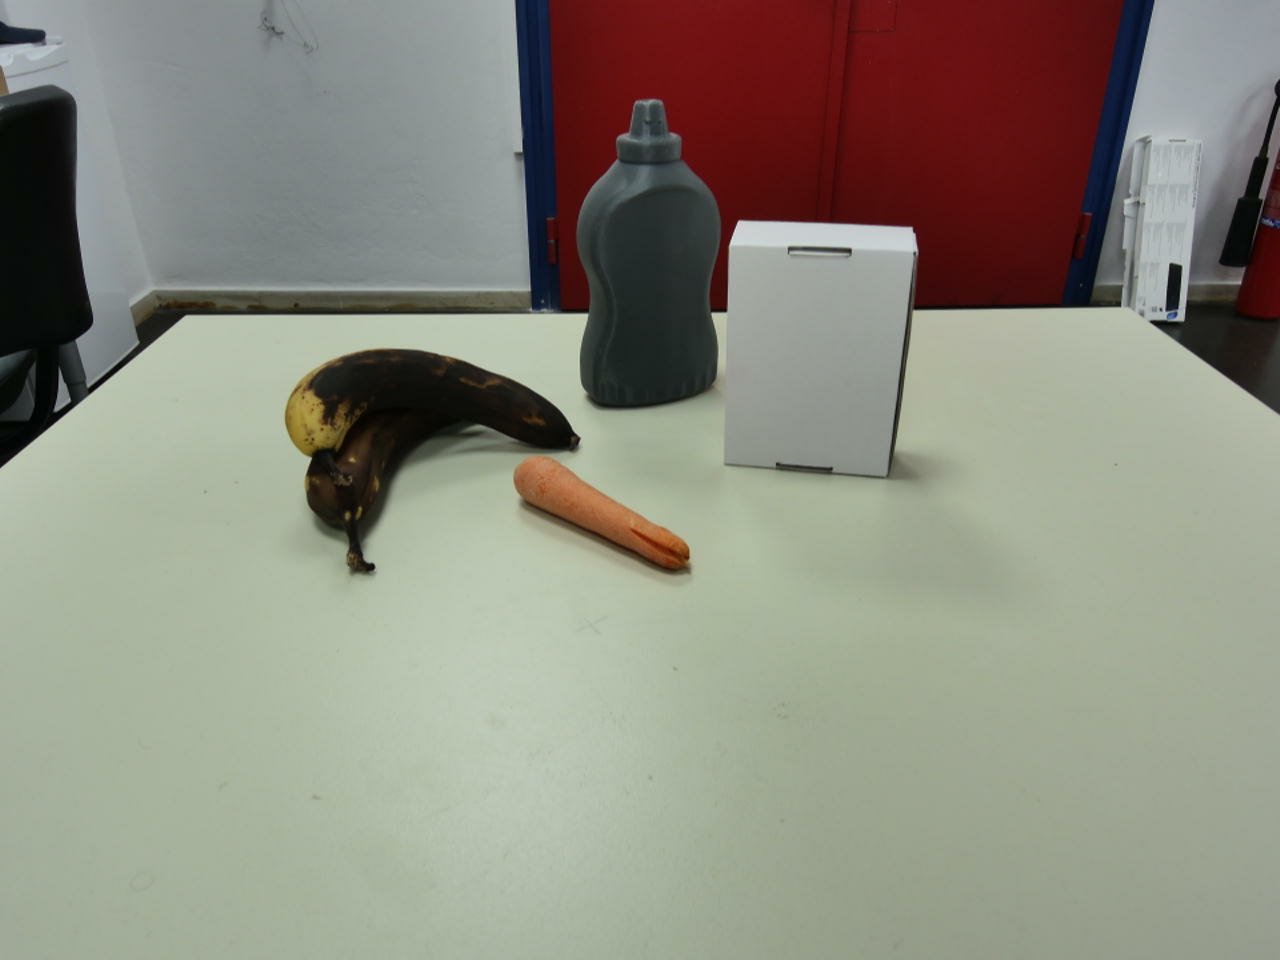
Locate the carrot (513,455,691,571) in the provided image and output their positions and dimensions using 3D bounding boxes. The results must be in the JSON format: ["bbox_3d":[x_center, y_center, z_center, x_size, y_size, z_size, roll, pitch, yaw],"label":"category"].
[{"bbox_3d":[-0.025,0.016,0.569,0.136,0.032,0.030,23,34,39],"label":"carrot"}]
